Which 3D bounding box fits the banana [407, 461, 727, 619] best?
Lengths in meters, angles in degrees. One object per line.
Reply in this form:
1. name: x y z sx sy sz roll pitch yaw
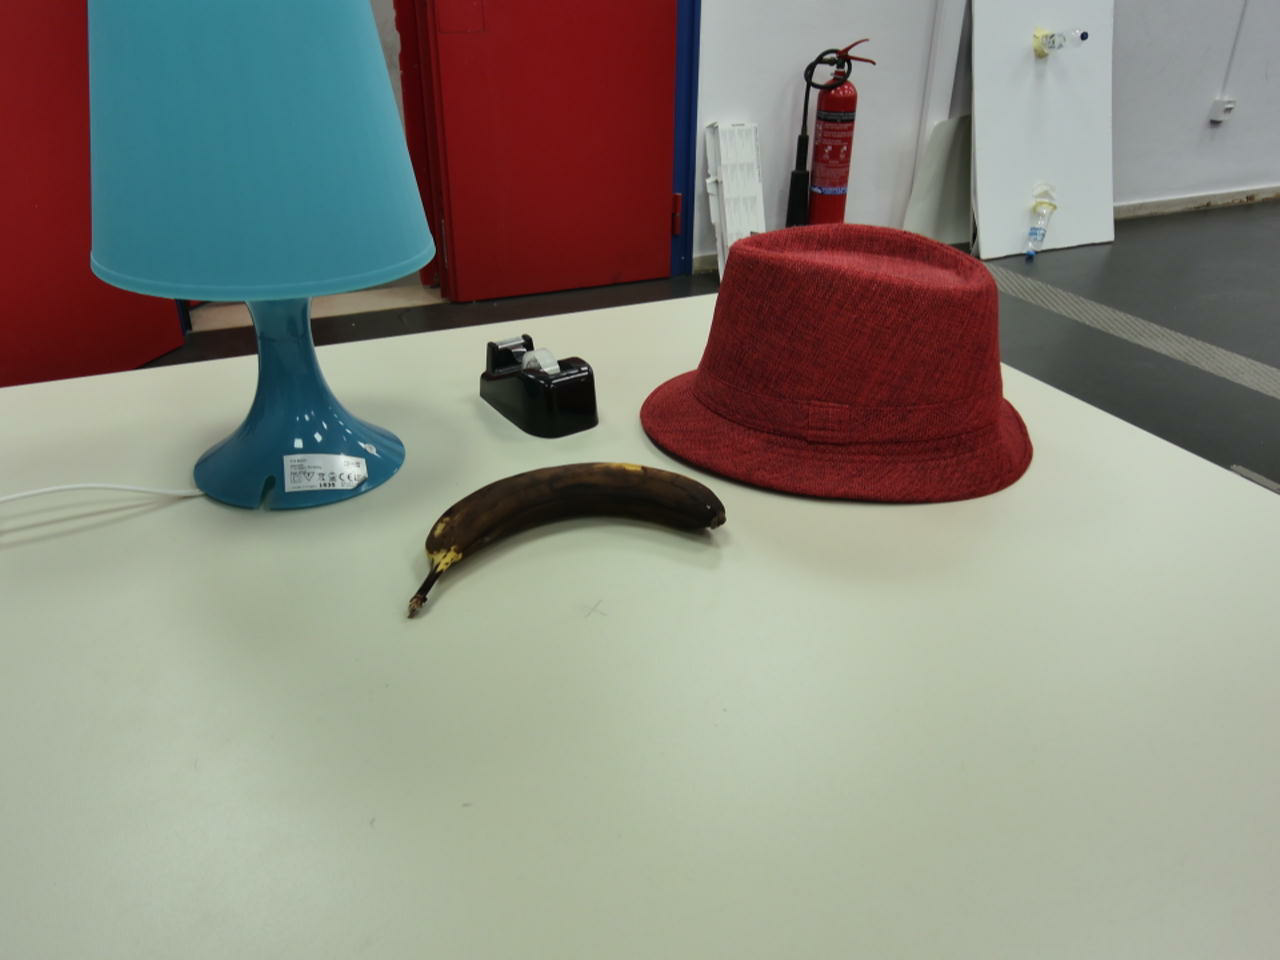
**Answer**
1. banana: -0.049 0.020 0.572 0.188 0.034 0.091 -11 28 -21
